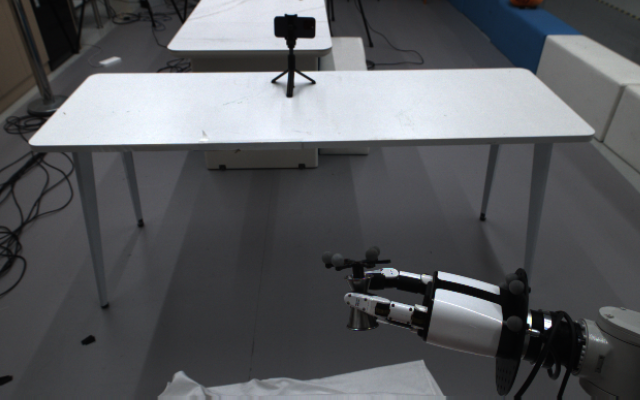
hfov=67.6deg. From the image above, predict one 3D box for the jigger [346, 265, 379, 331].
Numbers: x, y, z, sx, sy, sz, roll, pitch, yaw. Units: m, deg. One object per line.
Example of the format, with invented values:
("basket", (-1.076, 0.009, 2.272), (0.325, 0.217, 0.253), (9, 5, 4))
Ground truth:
("jigger", (0.054, 0.135, 0.650), (0.043, 0.071, 0.043), (-4, 1, 0))
